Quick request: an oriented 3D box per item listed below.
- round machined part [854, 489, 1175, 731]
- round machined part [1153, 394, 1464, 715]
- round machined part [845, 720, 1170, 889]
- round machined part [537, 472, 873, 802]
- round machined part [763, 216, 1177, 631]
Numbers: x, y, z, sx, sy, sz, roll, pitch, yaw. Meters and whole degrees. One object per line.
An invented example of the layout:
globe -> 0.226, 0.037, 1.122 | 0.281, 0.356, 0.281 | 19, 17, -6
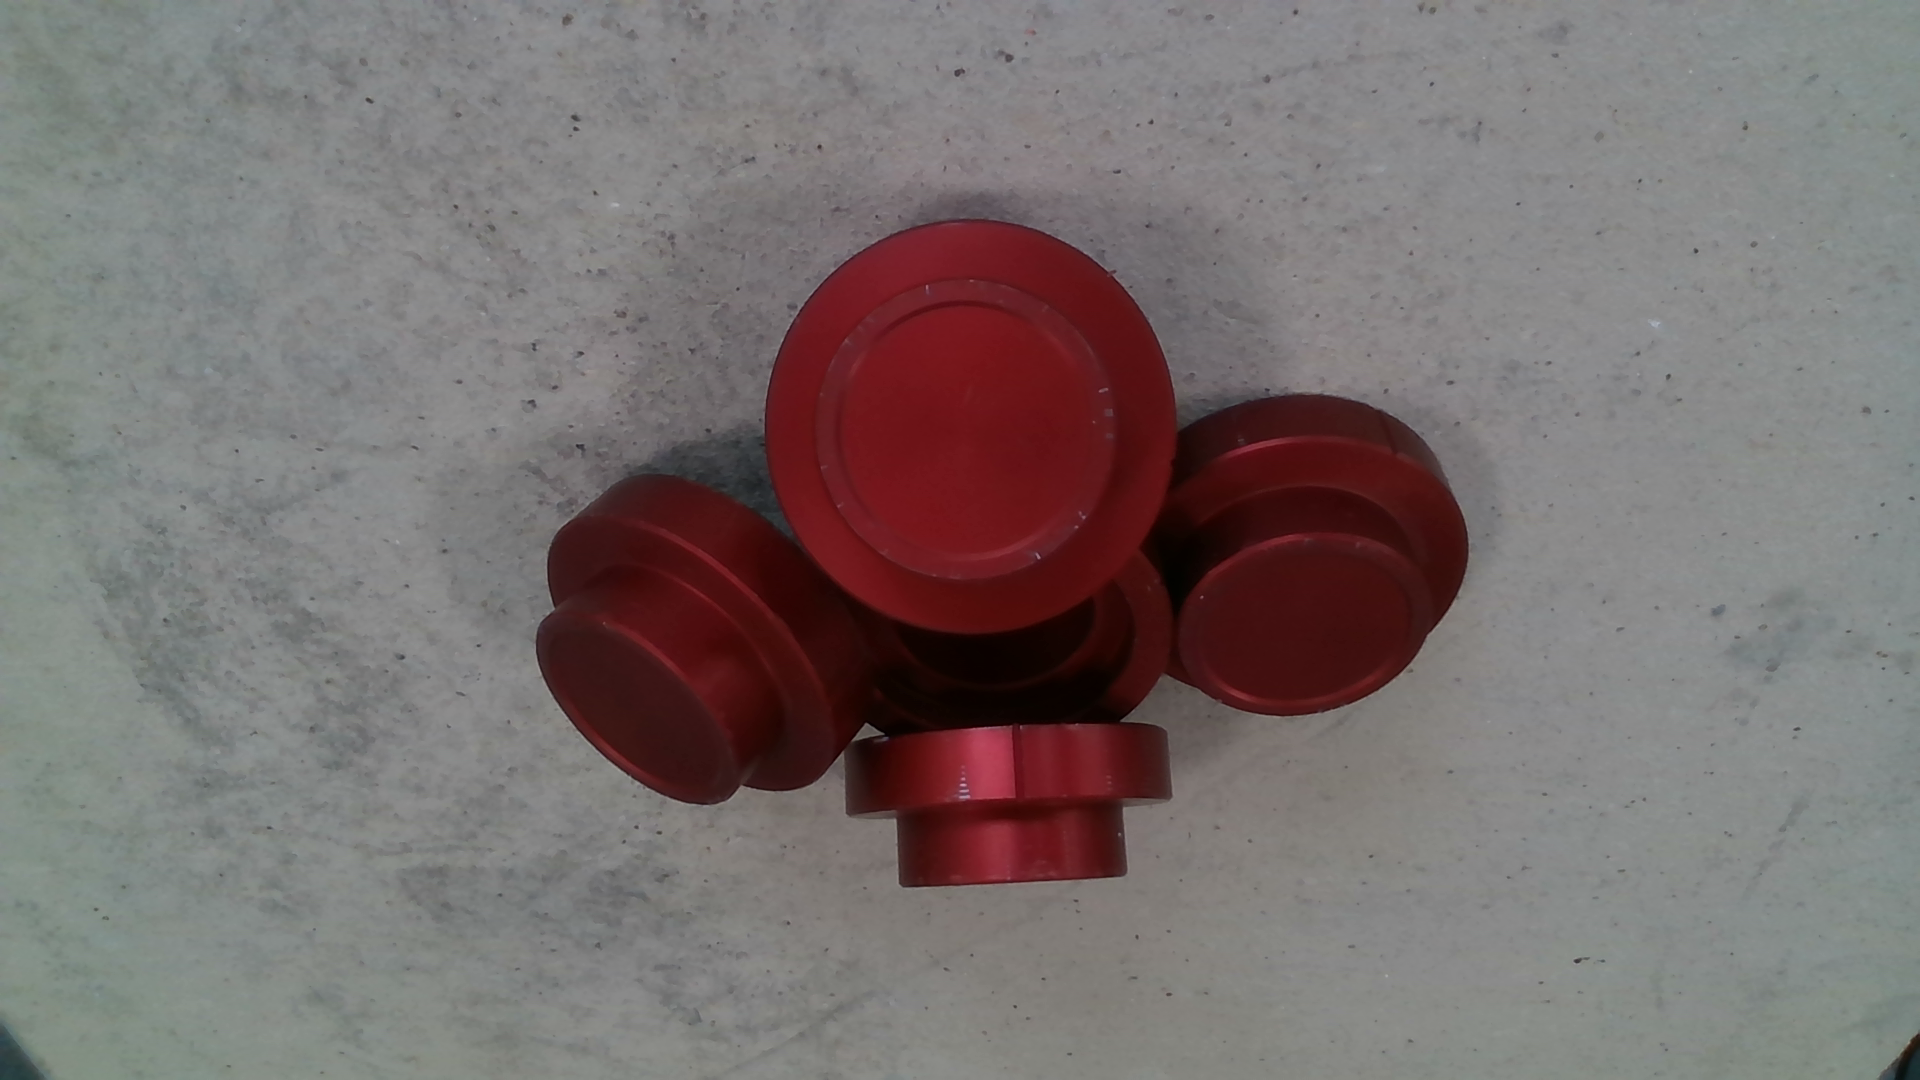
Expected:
round machined part -> 0.009, 0.014, 0.390 | 0.098, 0.042, 0.098 | -1, 128, -1
round machined part -> 0.092, 0.011, 0.387 | 0.098, 0.042, 0.098 | -1, 130, -1
round machined part -> 0.015, 0.081, 0.413 | 0.098, 0.042, 0.098 | -3, 166, -1
round machined part -> -0.076, 0.033, 0.378 | 0.098, 0.042, 0.098 | 21, 137, 22
round machined part -> 0.002, -0.026, 0.324 | 0.098, 0.042, 0.098 | 0, 97, 4
